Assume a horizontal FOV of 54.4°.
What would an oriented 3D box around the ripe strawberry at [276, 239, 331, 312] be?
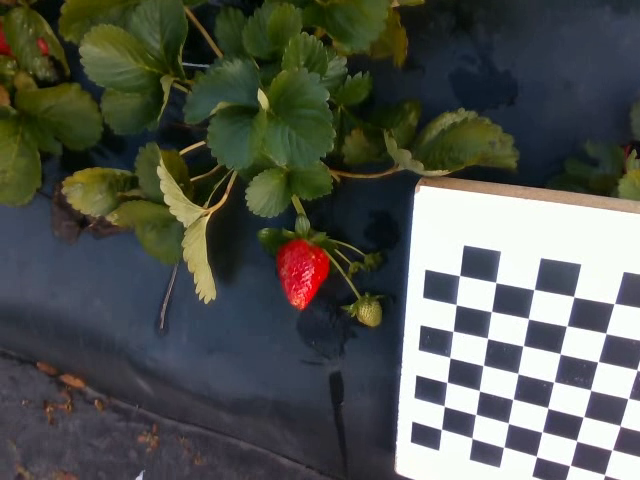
[{"bbox_3d":[-0.014,0.031,0.485,0.043,0.057,0.052,-13,-40,35],"label":"ripe strawberry"}]
